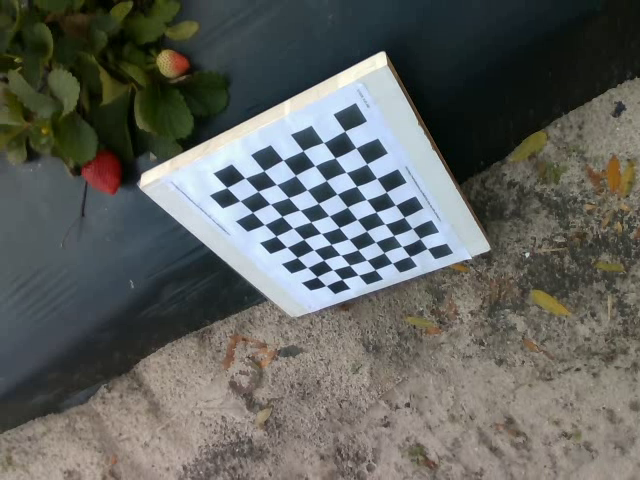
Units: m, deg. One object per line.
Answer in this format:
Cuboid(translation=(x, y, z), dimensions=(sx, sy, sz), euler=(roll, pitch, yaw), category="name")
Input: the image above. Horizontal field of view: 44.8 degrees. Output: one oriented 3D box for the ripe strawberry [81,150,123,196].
Cuboid(translation=(-0.193, -0.045, 0.667), dimensions=(0.036, 0.046, 0.037), euler=(-31, -18, -27), category="ripe strawberry")
